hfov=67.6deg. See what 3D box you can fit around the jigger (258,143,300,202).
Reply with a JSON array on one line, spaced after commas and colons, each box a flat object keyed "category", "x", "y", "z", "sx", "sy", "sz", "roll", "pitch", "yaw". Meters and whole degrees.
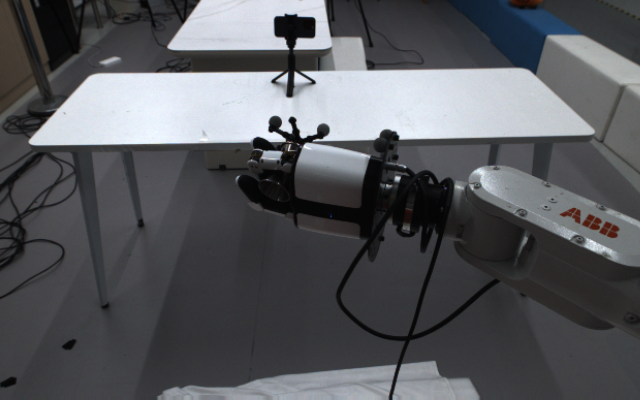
[{"category": "jigger", "x": -0.043, "y": -0.037, "z": 0.620, "sx": 0.043, "sy": 0.043, "sz": 0.071, "roll": 13, "pitch": 58, "yaw": 16}]
